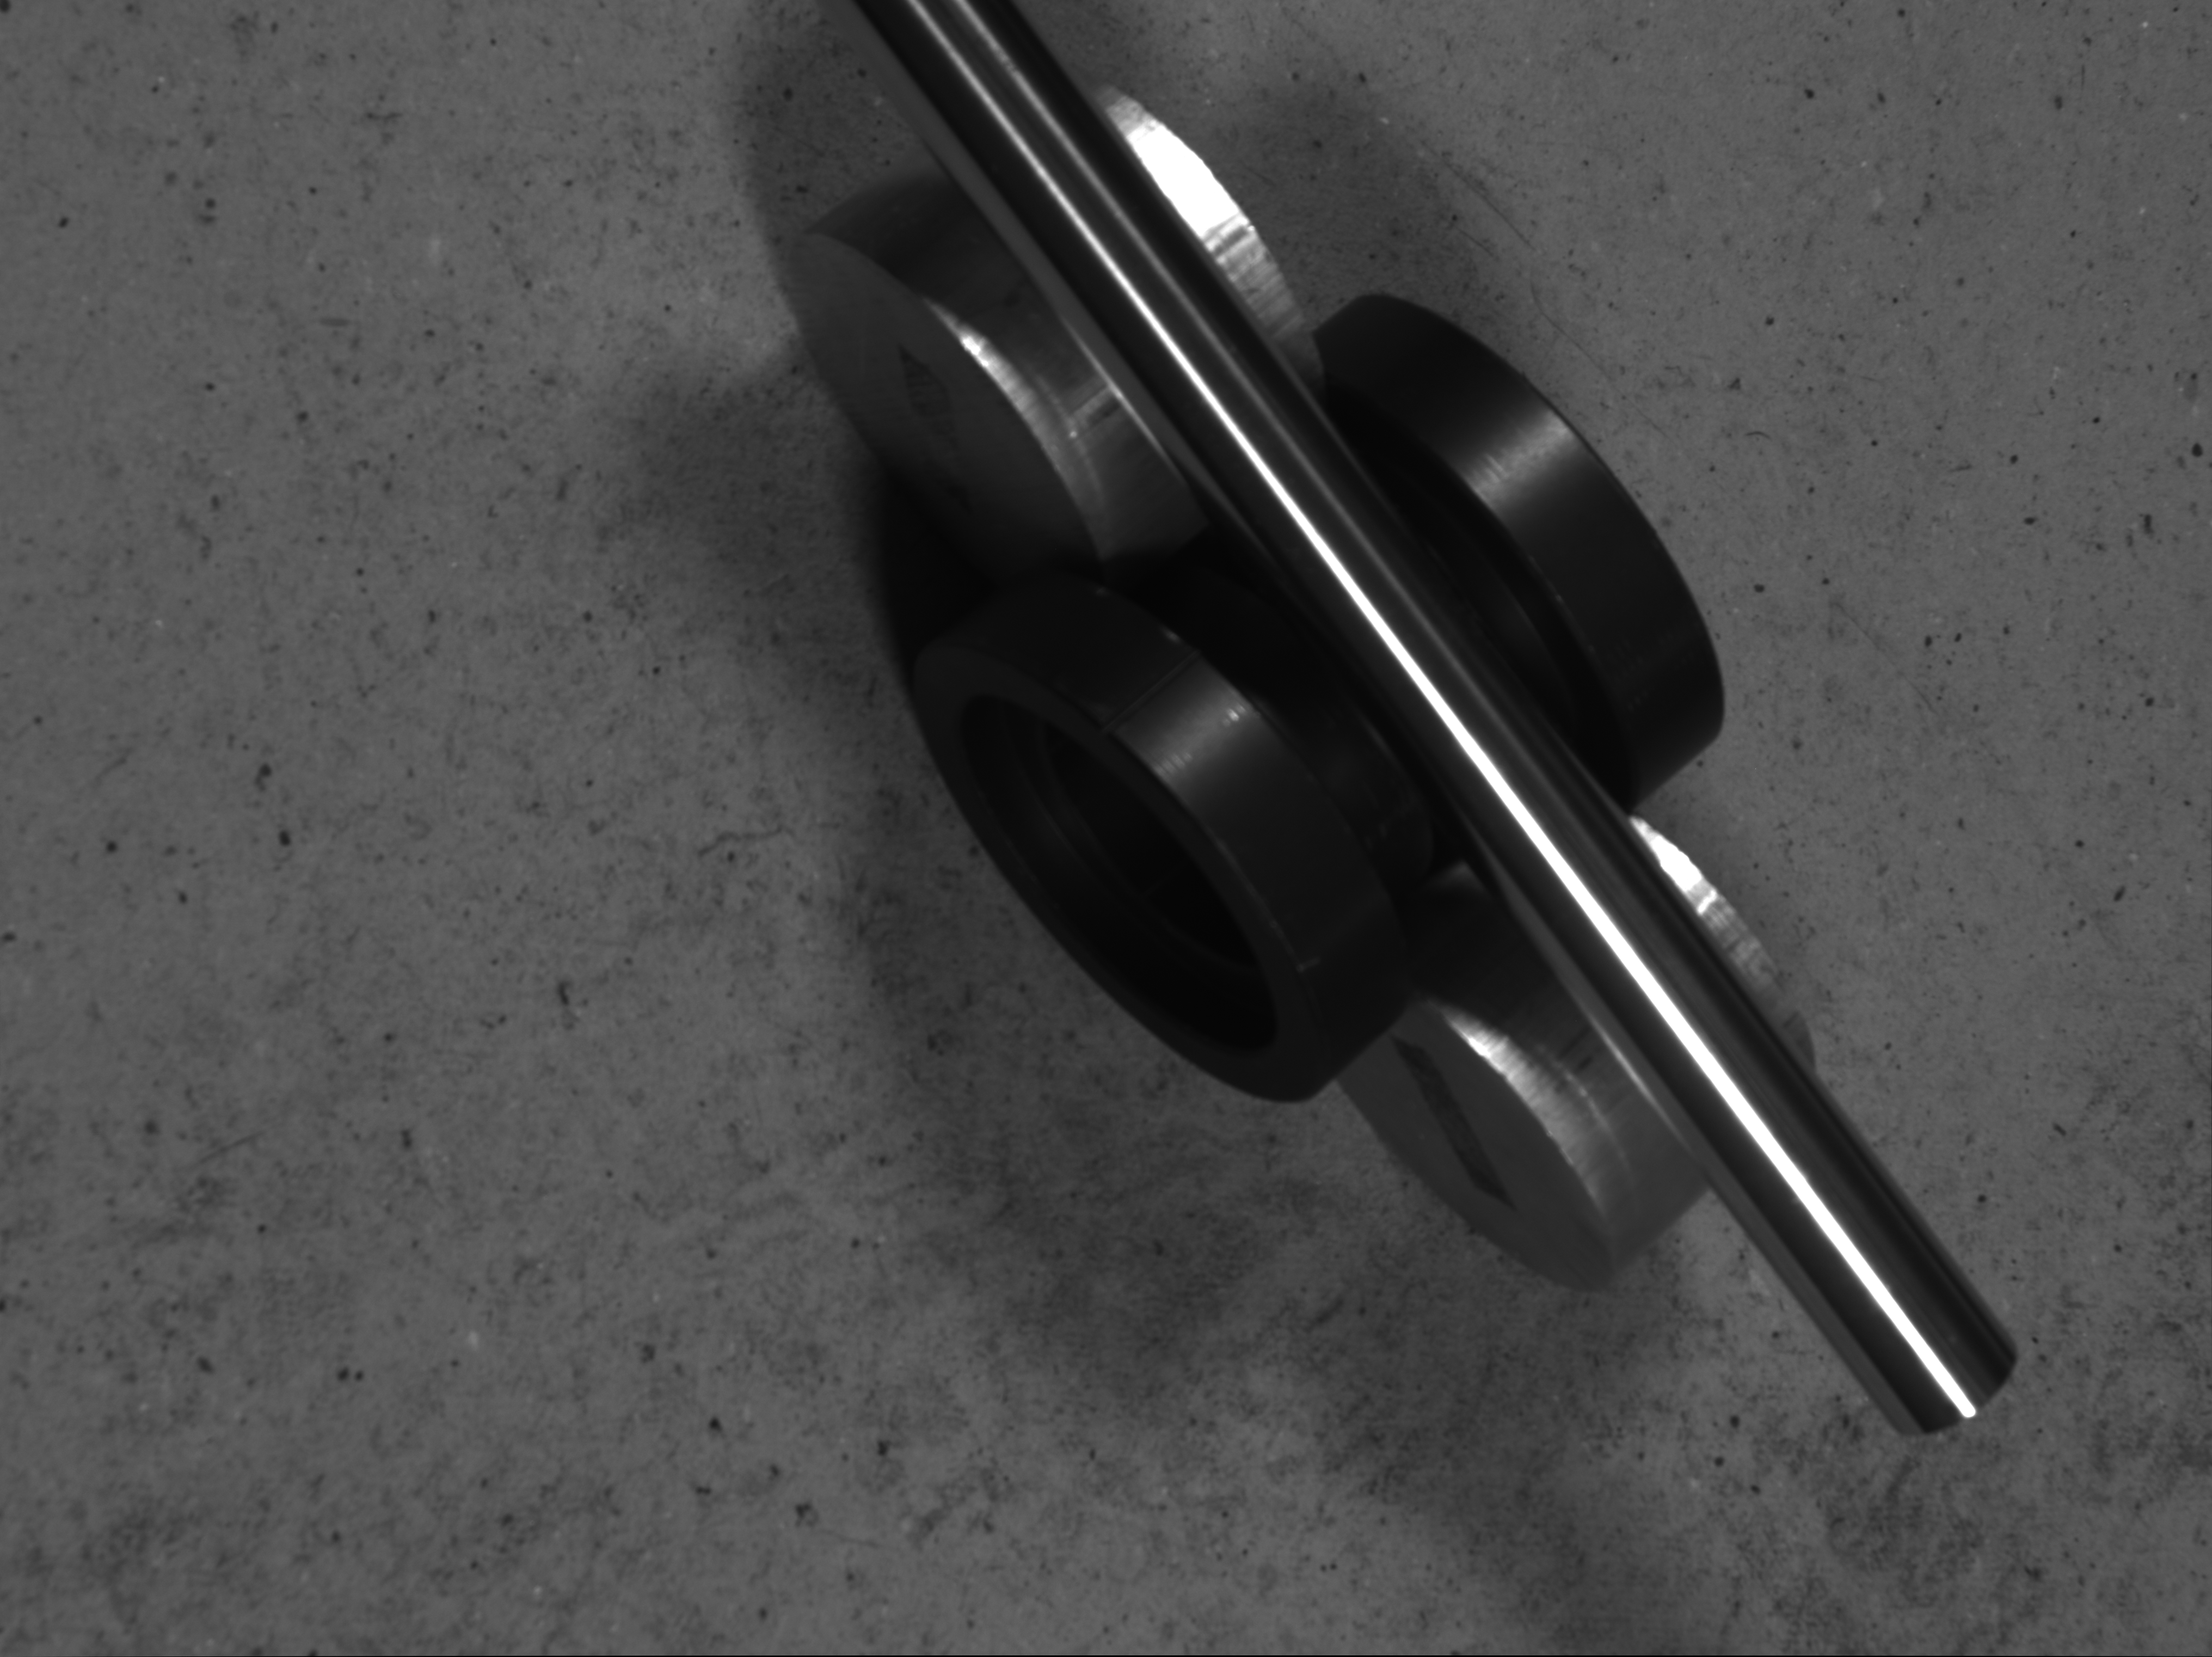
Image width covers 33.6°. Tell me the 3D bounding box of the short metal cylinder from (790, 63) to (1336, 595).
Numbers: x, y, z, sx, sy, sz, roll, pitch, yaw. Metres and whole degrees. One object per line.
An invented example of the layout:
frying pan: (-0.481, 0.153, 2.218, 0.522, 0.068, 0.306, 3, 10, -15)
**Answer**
short metal cylinder: (-0.008, -0.081, 0.611, 0.050, 0.080, 0.080, -41, 103, -15)

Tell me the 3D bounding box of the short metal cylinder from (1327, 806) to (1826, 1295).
short metal cylinder: (0.079, 0.035, 0.643, 0.050, 0.080, 0.080, -41, 103, -15)

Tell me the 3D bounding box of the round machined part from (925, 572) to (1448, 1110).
round machined part: (0.018, -0.003, 0.610, 0.042, 0.098, 0.098, -42, 103, -19)

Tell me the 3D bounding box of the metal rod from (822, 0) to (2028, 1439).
metal rod: (0.053, -0.022, 0.578, 0.025, 0.025, 0.300, -41, 103, -15)

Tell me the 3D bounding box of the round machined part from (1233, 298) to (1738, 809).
round machined part: (0.059, -0.039, 0.626, 0.042, 0.098, 0.098, -40, 102, -11)
